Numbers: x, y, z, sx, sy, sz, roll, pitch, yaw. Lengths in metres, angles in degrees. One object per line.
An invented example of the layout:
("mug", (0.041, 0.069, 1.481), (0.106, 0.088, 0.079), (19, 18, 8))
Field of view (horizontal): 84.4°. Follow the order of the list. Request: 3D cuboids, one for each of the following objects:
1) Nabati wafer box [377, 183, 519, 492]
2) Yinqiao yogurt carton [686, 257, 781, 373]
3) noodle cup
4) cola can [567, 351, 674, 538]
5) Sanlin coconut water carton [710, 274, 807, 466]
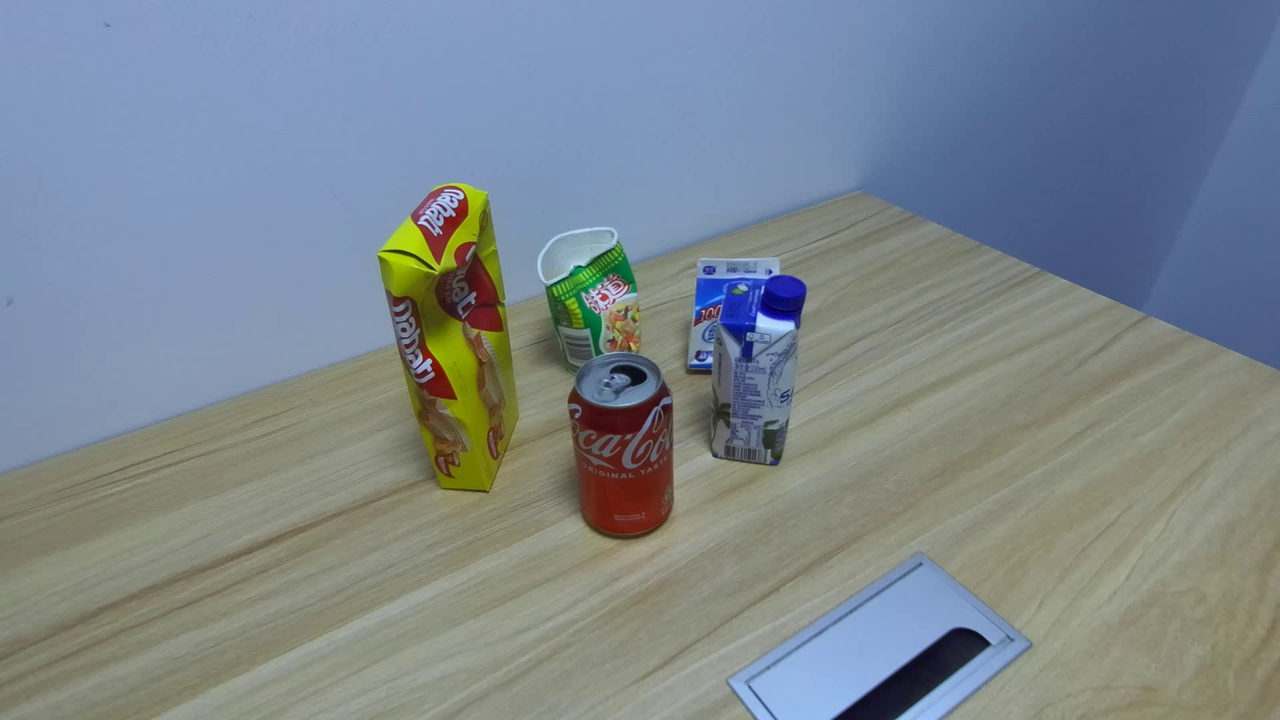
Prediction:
("Nabati wafer box", (-0.127, -0.008, 0.495), (0.042, 0.204, 0.107), (4, 36, 7))
("Yinqiao yogurt carton", (0.083, -0.047, 0.622), (0.077, 0.094, 0.071), (3, 36, 5))
("noodle cup", (-0.039, -0.047, 0.615), (0.083, 0.122, 0.075), (-24, 33, -12))
("cola can", (-0.011, 0.057, 0.469), (0.068, 0.120, 0.067), (-1, 35, 1))
("Sanlin coconut water carton", (0.083, 0.006, 0.506), (0.060, 0.144, 0.060), (5, 38, 11))
